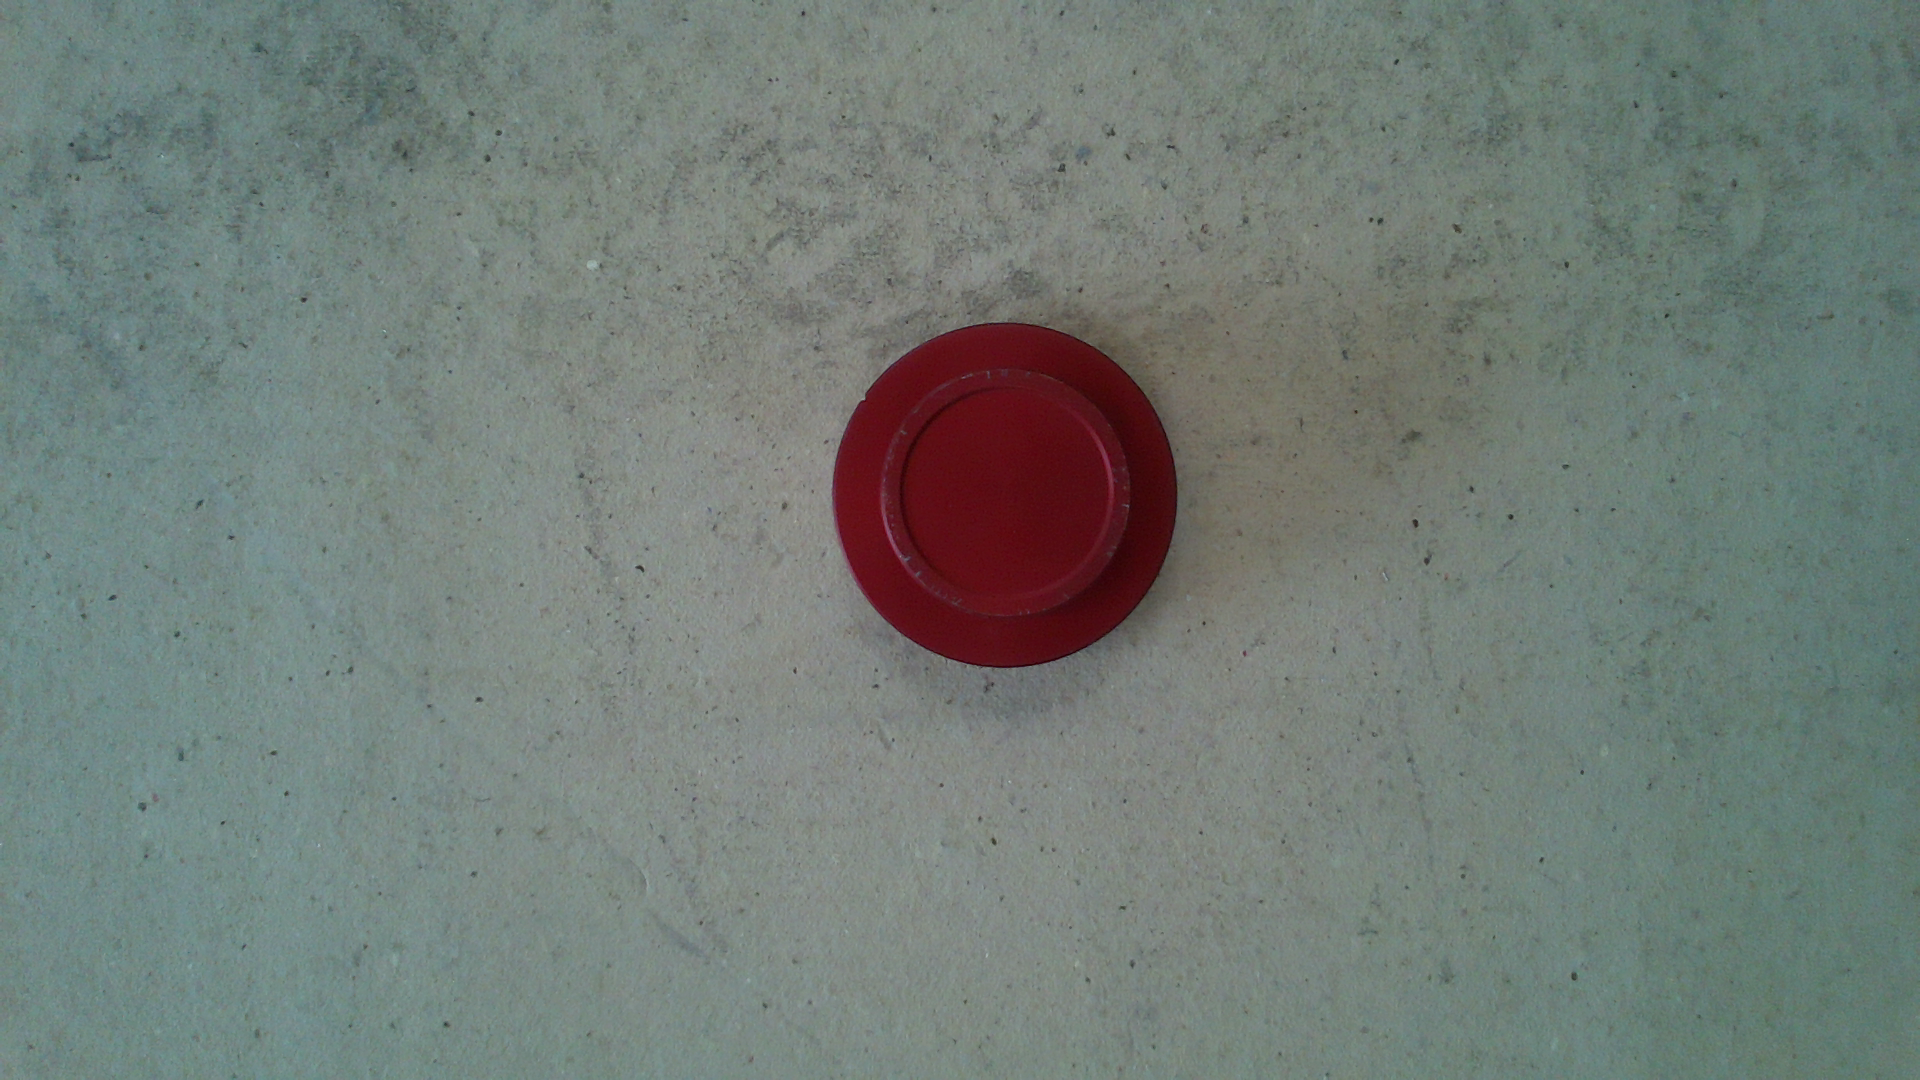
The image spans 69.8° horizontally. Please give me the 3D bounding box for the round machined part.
[{"bbox_3d":[0.013,-0.013,0.387,0.098,0.042,0.098,0,90,0],"label":"round machined part"}]
